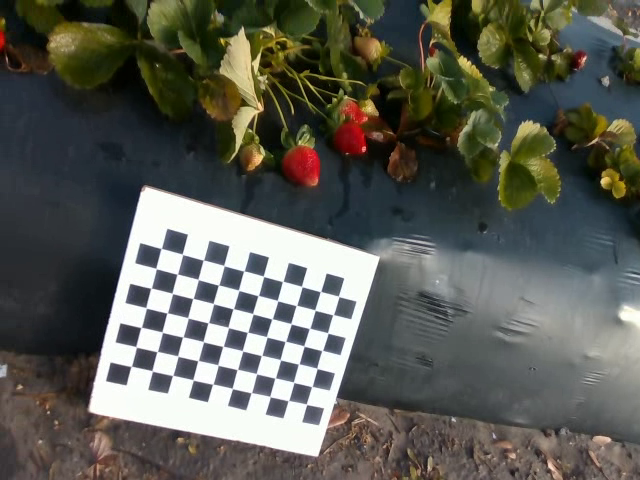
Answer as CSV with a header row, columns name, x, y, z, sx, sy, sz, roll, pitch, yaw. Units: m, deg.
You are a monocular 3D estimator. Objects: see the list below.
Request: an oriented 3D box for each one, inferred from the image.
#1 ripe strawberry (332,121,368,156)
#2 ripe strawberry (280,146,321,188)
name,x,y,z,sx,sy,sz,roll,pitch,yaw
ripe strawberry,0.043,-0.127,0.824,0.055,0.045,0.041,42,-1,37
ripe strawberry,-0.017,-0.088,0.776,0.050,0.065,0.050,-24,-42,-5
